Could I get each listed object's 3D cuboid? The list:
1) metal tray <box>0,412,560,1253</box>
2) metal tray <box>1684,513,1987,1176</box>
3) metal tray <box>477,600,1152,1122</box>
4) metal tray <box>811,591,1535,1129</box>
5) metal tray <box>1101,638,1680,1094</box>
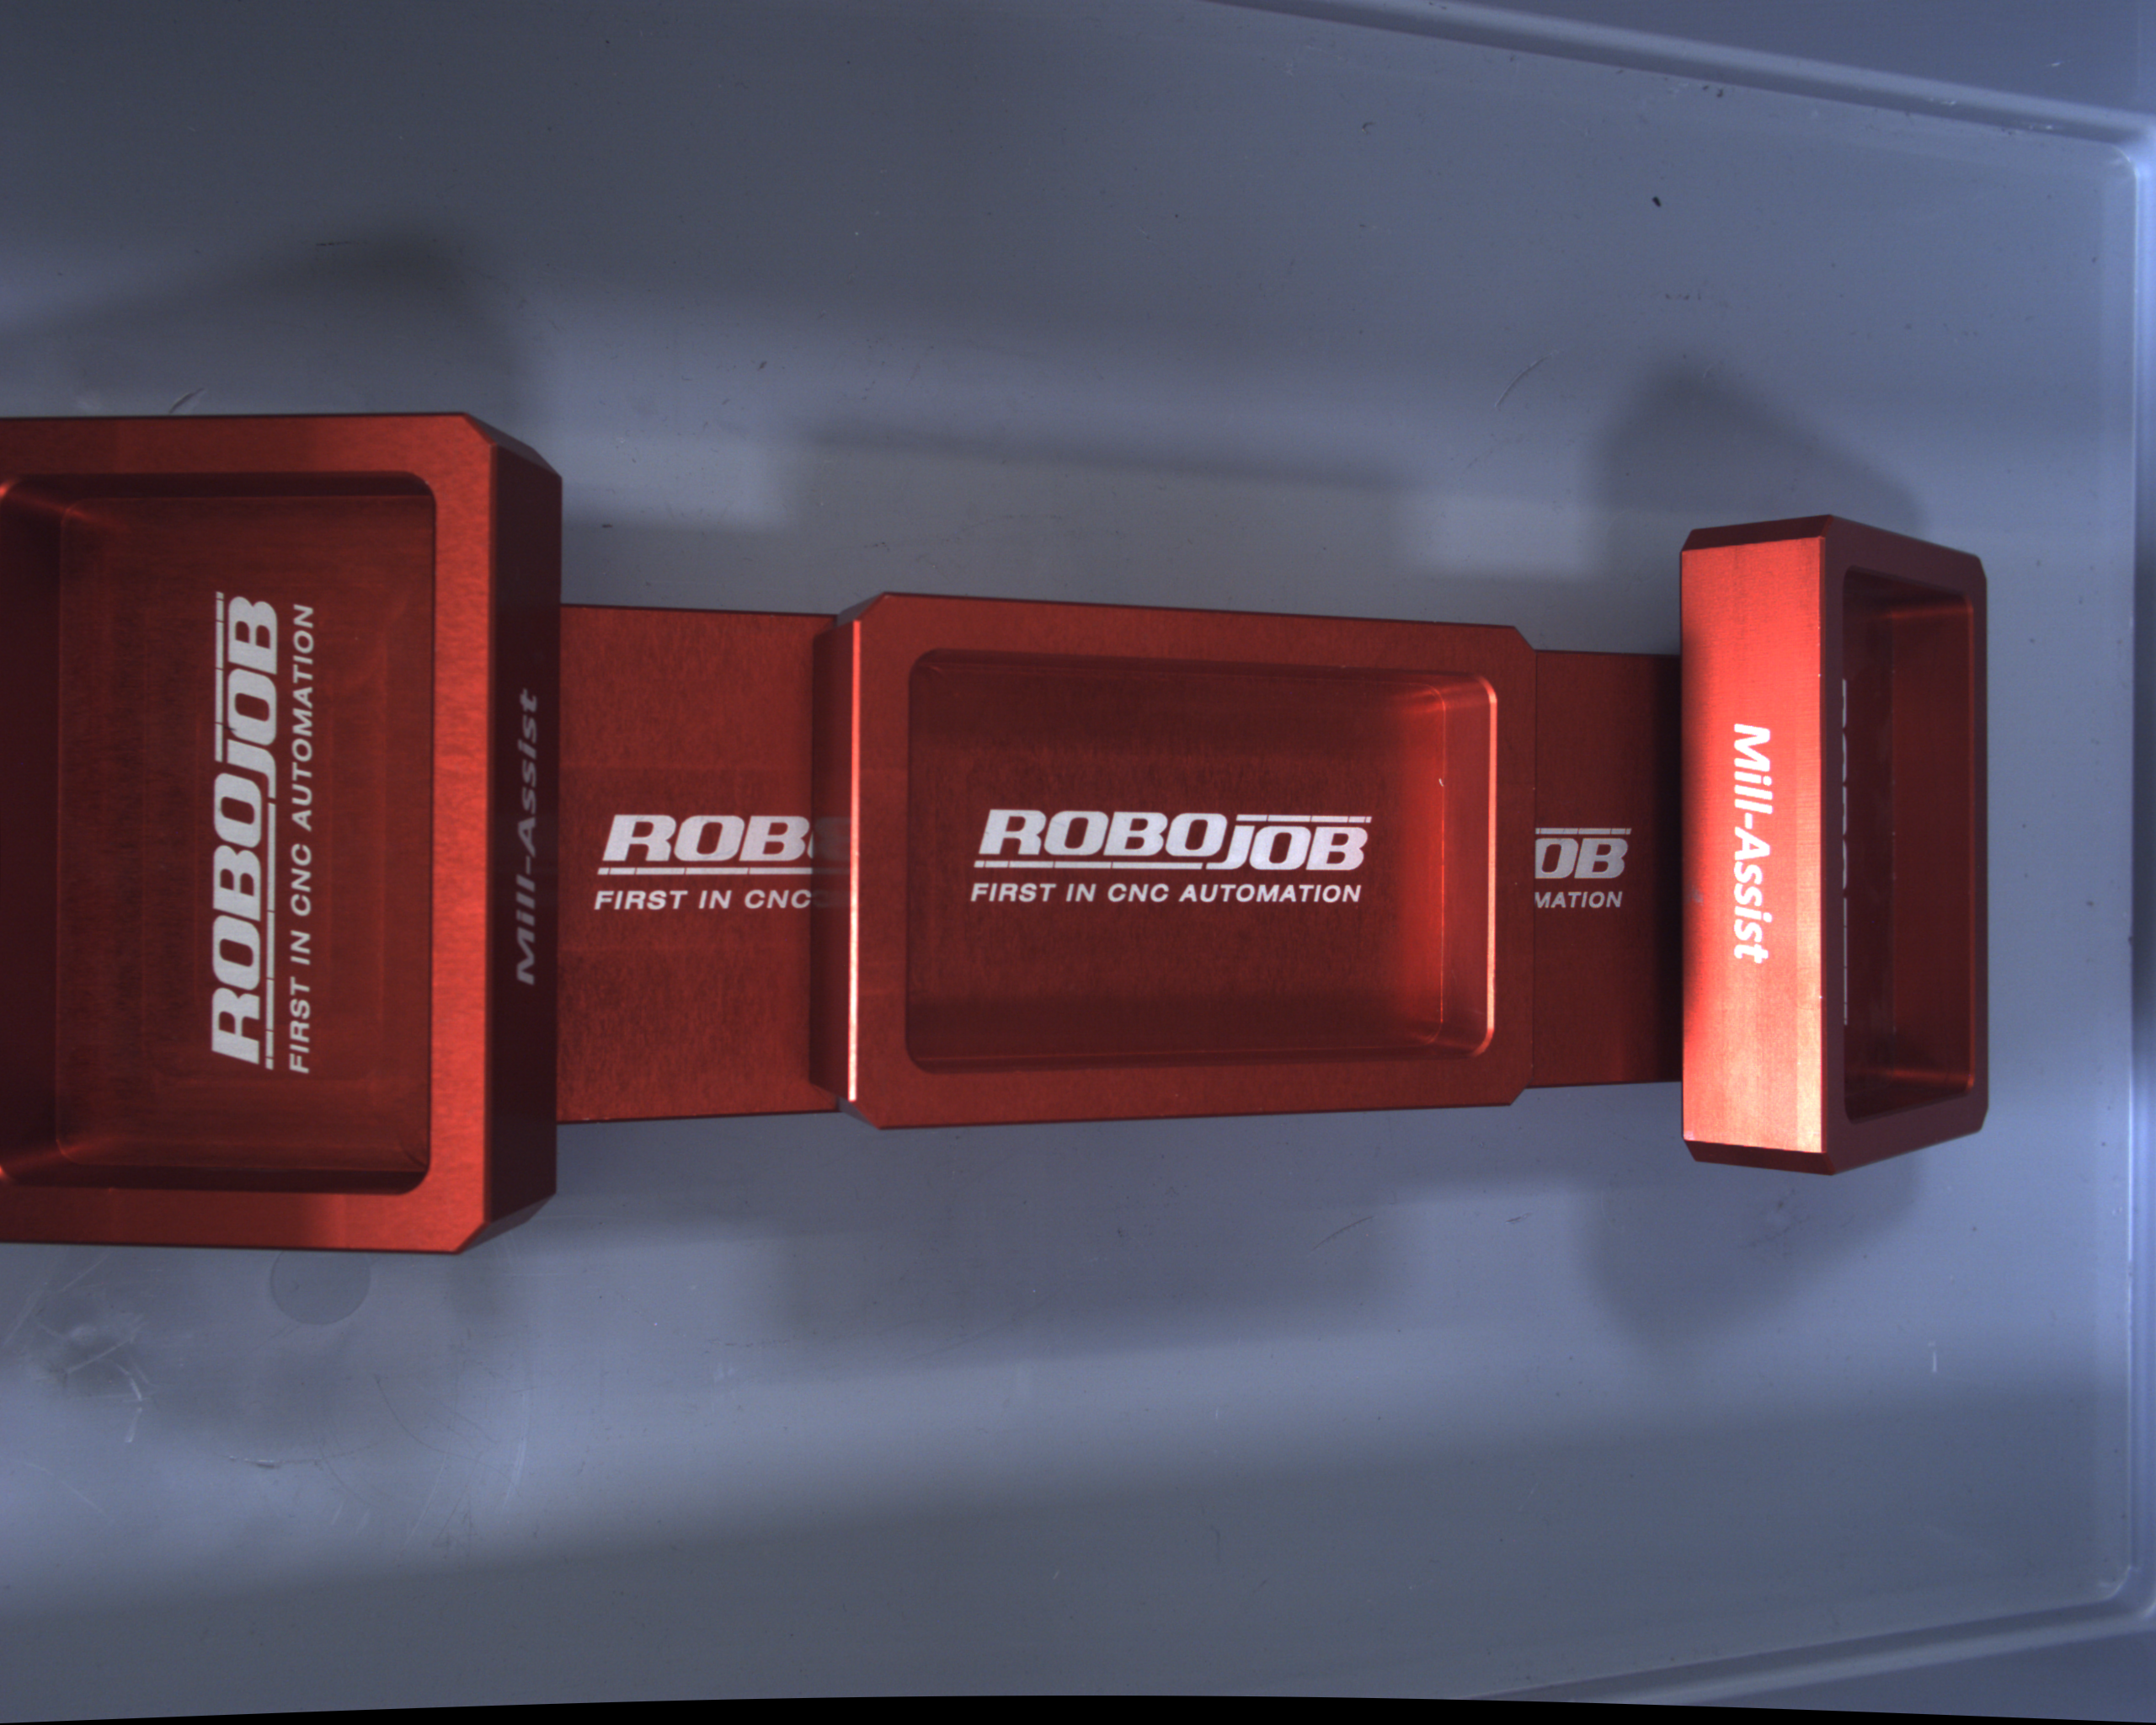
[{"bbox_3d":[-0.133,-0.005,0.338,0.090,0.030,0.129,1,90,5],"label":"metal tray"},{"bbox_3d":[0.164,-0.004,0.446,0.091,0.030,0.129,0,90,-48],"label":"metal tray"},{"bbox_3d":[-0.052,0.000,0.388,0.131,0.030,0.089,0,90,-20],"label":"metal tray"},{"bbox_3d":[0.019,0.000,0.381,0.131,0.030,0.089,1,89,-20],"label":"metal tray"},{"bbox_3d":[0.071,0.001,0.433,0.131,0.030,0.089,0,90,-20],"label":"metal tray"}]
